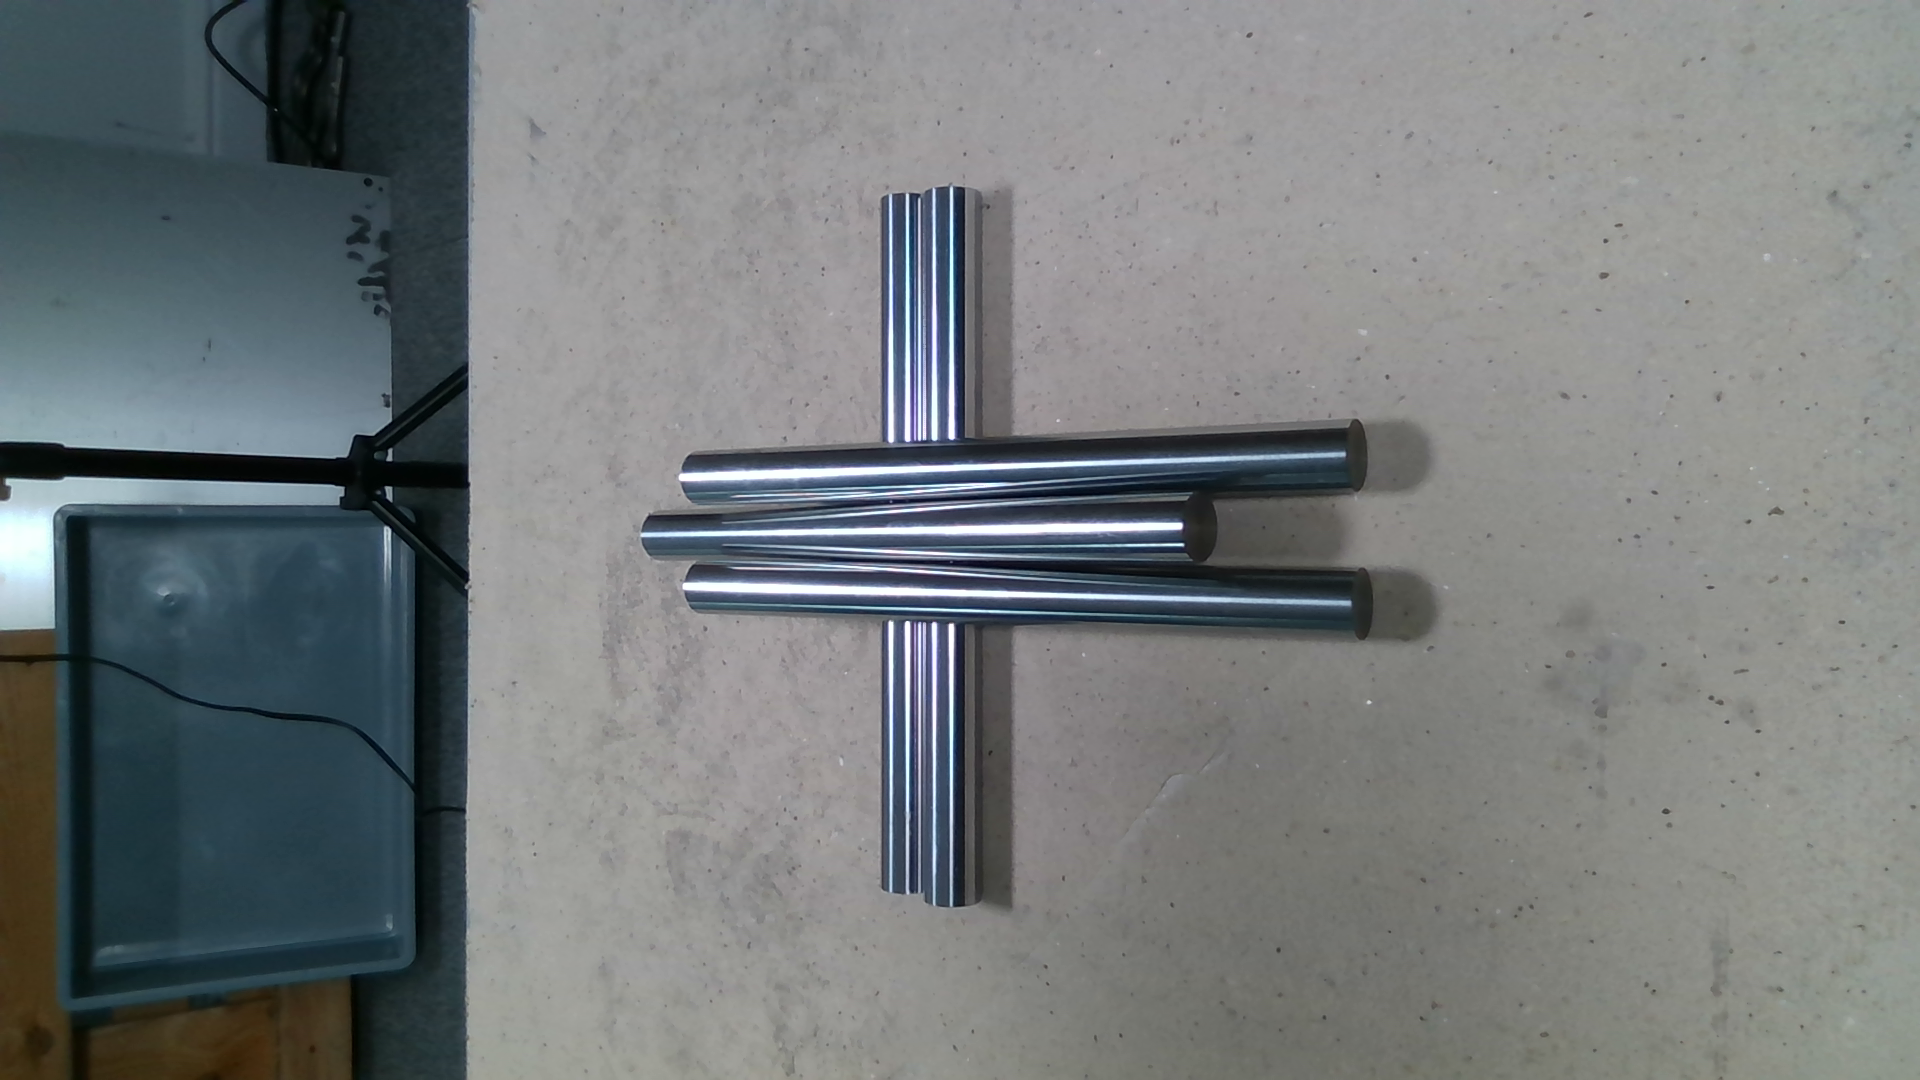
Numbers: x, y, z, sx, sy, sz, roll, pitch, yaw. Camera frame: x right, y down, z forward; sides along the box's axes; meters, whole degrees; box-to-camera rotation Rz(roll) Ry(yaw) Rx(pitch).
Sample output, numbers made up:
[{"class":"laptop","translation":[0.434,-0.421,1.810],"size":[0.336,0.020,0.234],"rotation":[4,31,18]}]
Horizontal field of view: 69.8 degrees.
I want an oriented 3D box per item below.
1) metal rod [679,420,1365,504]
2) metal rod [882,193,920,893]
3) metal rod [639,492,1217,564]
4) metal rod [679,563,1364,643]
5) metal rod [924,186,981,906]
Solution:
[{"class":"metal rod","translation":[0.007,-0.029,0.548],"size":[0.300,0.025,0.025],"rotation":[0,90,32]},{"class":"metal rod","translation":[-0.022,0.001,0.602],"size":[0.025,0.025,0.300],"rotation":[1,91,40]},{"class":"metal rod","translation":[-0.032,-0.003,0.575],"size":[0.300,0.025,0.025],"rotation":[0,90,40]},{"class":"metal rod","translation":[0.008,0.022,0.548],"size":[0.300,0.025,0.025],"rotation":[0,90,32]},{"class":"metal rod","translation":[-0.003,0.003,0.586],"size":[0.025,0.025,0.300],"rotation":[1,91,40]}]
